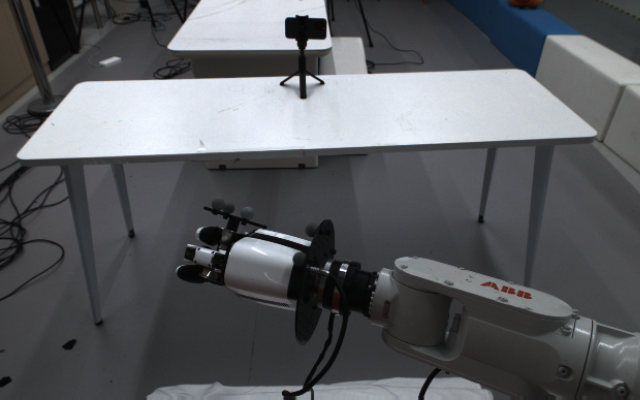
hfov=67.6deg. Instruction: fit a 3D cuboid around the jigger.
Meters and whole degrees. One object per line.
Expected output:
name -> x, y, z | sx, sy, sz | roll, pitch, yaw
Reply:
jigger -> -0.127, 0.072, 0.639 | 0.043, 0.071, 0.043 | 18, -6, 2
